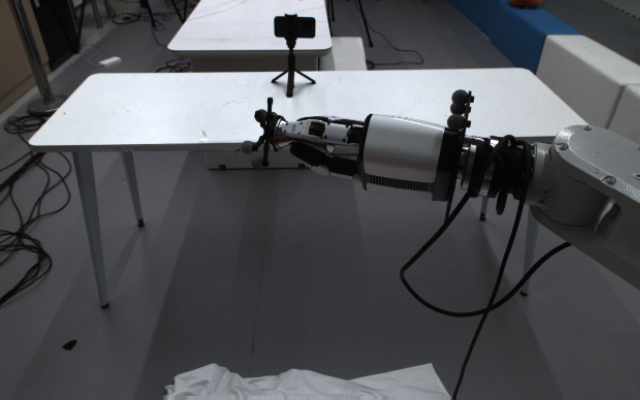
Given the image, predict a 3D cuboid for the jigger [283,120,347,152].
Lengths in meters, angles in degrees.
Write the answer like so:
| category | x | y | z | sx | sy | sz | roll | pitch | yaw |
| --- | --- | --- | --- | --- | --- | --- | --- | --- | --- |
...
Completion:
| category | x | y | z | sx | sy | sz | roll | pitch | yaw |
| --- | --- | --- | --- | --- | --- | --- | --- | --- | --- |
| jigger | -0.012 | -0.084 | 0.603 | 0.071 | 0.043 | 0.043 | 8 | 35 | 16 |
